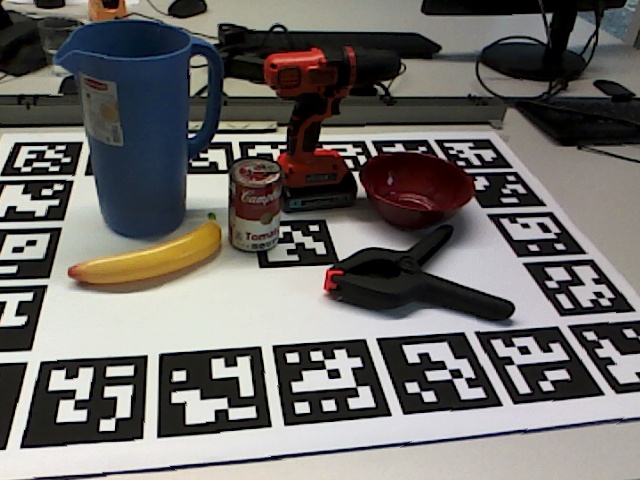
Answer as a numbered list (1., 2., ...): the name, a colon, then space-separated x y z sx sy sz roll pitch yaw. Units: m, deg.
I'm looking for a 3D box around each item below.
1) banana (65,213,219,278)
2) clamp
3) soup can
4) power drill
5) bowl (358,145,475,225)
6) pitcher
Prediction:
1. banana: -0.197 0.011 0.733 0.196 0.039 0.075 -20 35 -32
2. clamp: 0.102 0.032 0.731 0.202 0.036 0.166 -5 42 -13
3. soup can: -0.082 -0.052 0.776 0.068 0.102 0.068 2 29 -2
4. power drill: 0.019 -0.166 0.837 0.184 0.186 0.058 -6 39 -16
5. bowl: 0.130 -0.070 0.864 0.161 0.055 0.162 3 38 -3
6. pitcher: -0.206 -0.140 0.758 0.188 0.242 0.134 -20 41 -30
